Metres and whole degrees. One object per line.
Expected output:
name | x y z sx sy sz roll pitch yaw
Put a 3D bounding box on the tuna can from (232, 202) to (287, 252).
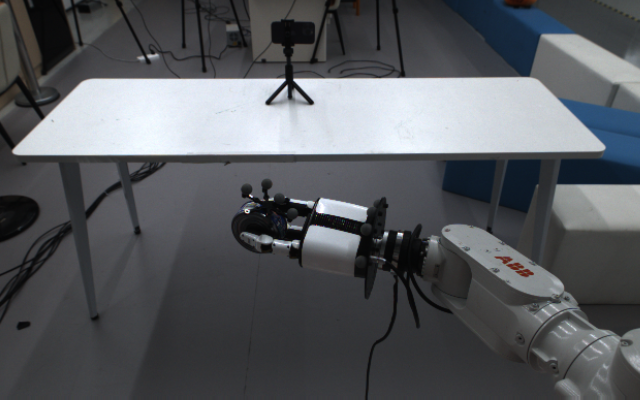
tuna can | -0.095 0.051 0.774 0.085 0.085 0.034 12 35 14
